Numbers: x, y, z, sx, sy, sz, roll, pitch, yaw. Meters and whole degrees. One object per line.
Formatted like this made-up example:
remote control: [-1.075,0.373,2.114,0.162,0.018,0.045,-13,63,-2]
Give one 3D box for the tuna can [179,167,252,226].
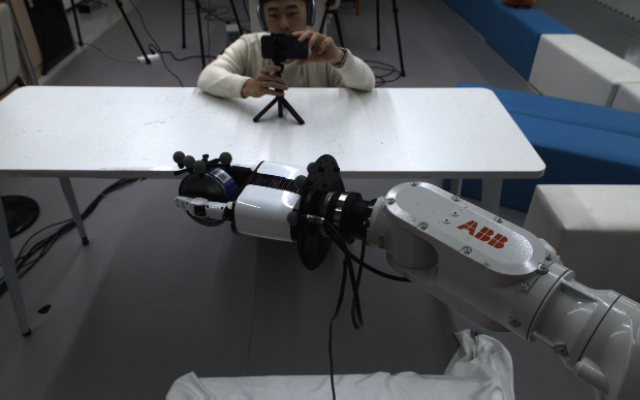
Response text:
tuna can: [-0.159,-0.006,0.705,0.085,0.085,0.034,15,28,17]
